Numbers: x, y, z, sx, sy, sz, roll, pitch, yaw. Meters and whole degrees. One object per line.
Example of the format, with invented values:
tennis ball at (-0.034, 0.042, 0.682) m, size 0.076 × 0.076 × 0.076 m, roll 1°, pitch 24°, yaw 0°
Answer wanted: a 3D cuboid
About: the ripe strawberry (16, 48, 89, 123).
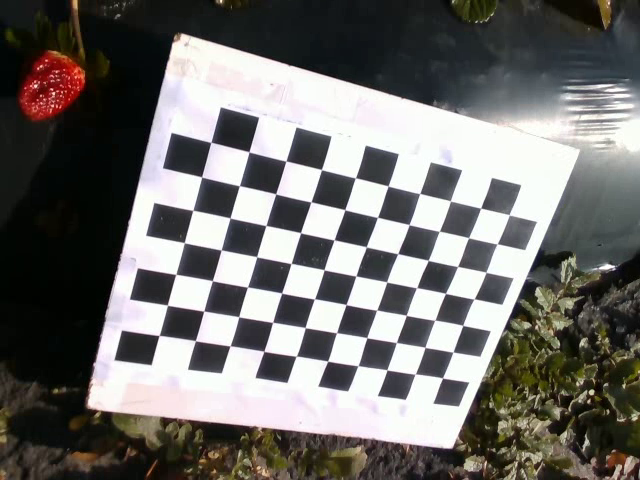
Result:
ripe strawberry at (-0.057, -0.034, 0.110) m, size 0.015 × 0.023 × 0.015 m, roll 20°, pitch -36°, yaw -16°
